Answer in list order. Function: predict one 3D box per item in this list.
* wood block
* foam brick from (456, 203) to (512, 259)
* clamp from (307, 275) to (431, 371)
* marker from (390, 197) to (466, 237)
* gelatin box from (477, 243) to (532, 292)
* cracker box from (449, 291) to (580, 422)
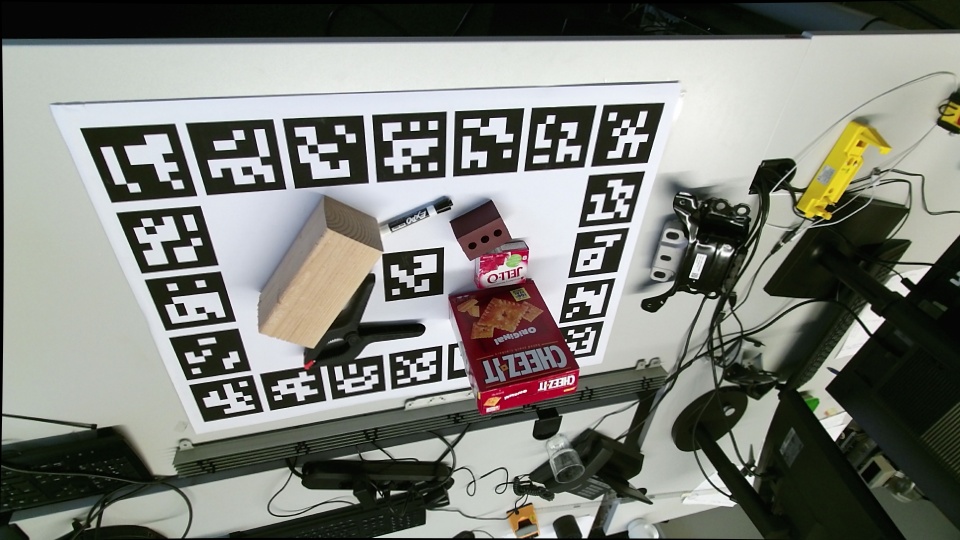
[{"bbox_3d":[-0.230,0.008,0.794,0.090,0.090,0.206,25,115,-35],"label":"wood block"},{"bbox_3d":[0.010,-0.059,0.850,0.078,0.051,0.053,-27,127,0],"label":"foam brick"},{"bbox_3d":[-0.207,0.113,0.907,0.203,0.036,0.166,-32,128,4],"label":"clamp"},{"bbox_3d":[-0.079,-0.082,0.822,0.121,0.019,0.020,-23,127,-3],"label":"marker"},{"bbox_3d":[0.041,-0.004,0.918,0.090,0.030,0.073,-8,125,-14],"label":"gelatin box"},{"bbox_3d":[0.050,0.134,0.894,0.165,0.212,0.072,-9,128,-11],"label":"cracker box"}]
